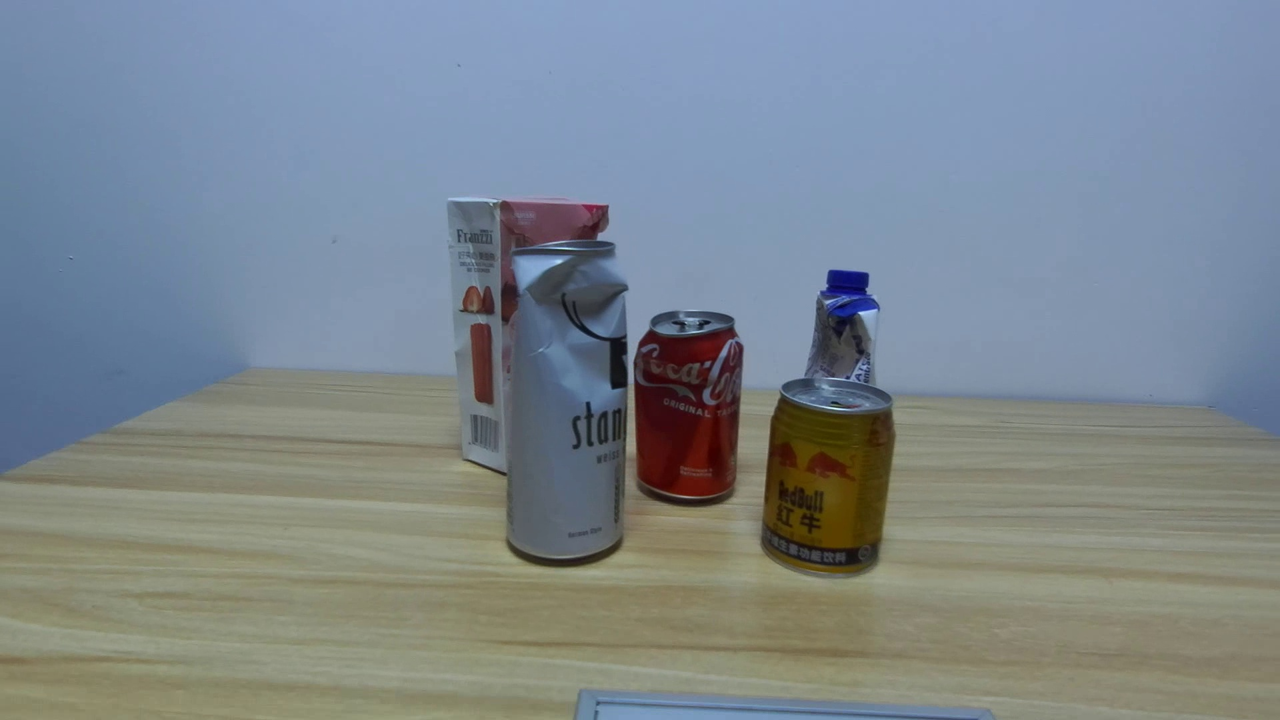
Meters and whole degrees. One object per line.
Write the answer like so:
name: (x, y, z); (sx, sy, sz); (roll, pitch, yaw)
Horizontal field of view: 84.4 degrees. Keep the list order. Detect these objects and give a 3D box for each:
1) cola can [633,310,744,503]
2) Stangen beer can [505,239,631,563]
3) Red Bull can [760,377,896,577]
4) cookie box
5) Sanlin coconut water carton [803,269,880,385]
cola can: (0.035, 0.029, 0.461); (0.066, 0.117, 0.072); (-8, 18, -37)
Stangen beer can: (-0.041, 0.023, 0.380); (0.066, 0.166, 0.065); (-5, 14, -25)
Red Bull can: (0.102, 0.062, 0.387); (0.067, 0.093, 0.067); (3, 14, 0)
cookie box: (-0.078, -0.020, 0.504); (0.059, 0.186, 0.105); (17, 20, 40)
Sanlin coconut water carton: (0.139, 0.012, 0.496); (0.056, 0.144, 0.068); (-2, 15, 17)
